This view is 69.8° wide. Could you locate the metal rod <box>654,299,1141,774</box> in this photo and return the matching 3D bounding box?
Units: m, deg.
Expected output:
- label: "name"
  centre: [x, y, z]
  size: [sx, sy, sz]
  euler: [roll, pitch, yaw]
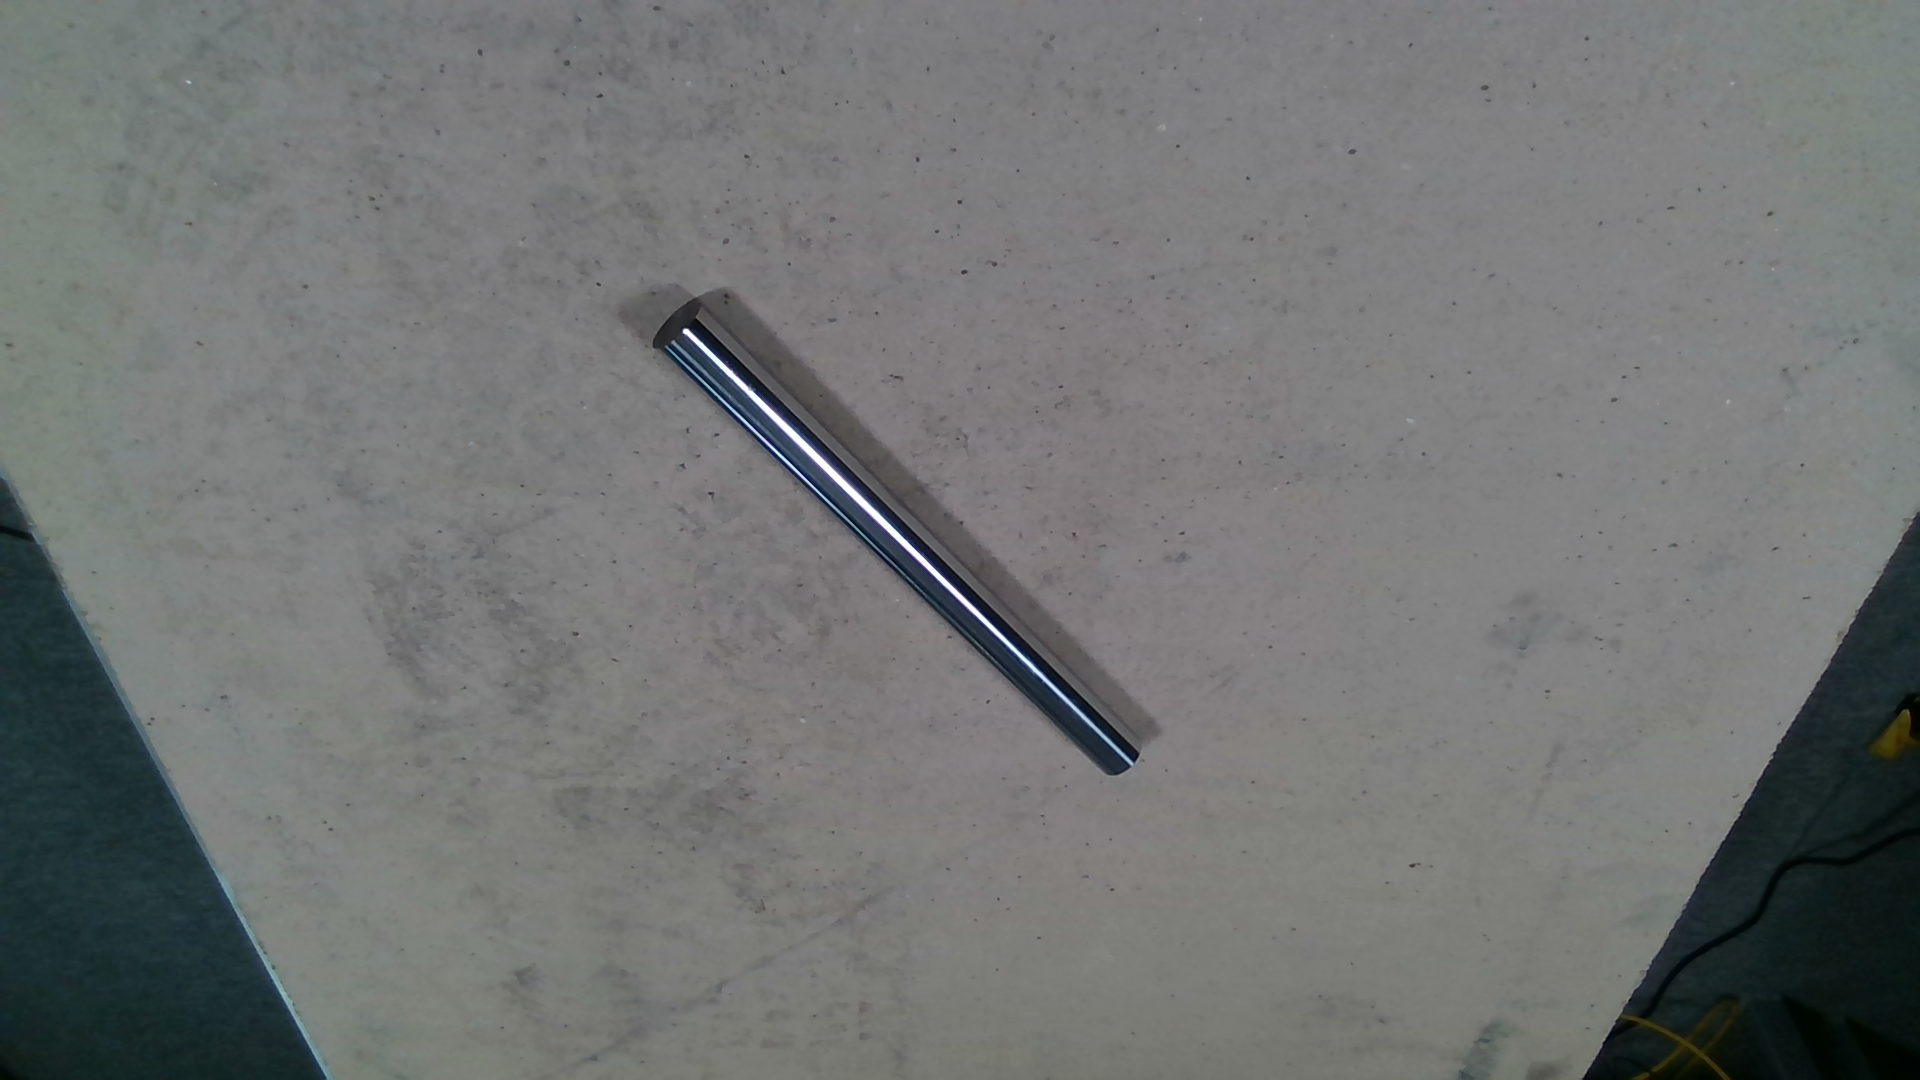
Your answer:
- label: "metal rod"
  centre: [-0.014, 0.011, 0.589]
  size: [0.025, 0.025, 0.301]
  euler: [-30, 124, 23]
